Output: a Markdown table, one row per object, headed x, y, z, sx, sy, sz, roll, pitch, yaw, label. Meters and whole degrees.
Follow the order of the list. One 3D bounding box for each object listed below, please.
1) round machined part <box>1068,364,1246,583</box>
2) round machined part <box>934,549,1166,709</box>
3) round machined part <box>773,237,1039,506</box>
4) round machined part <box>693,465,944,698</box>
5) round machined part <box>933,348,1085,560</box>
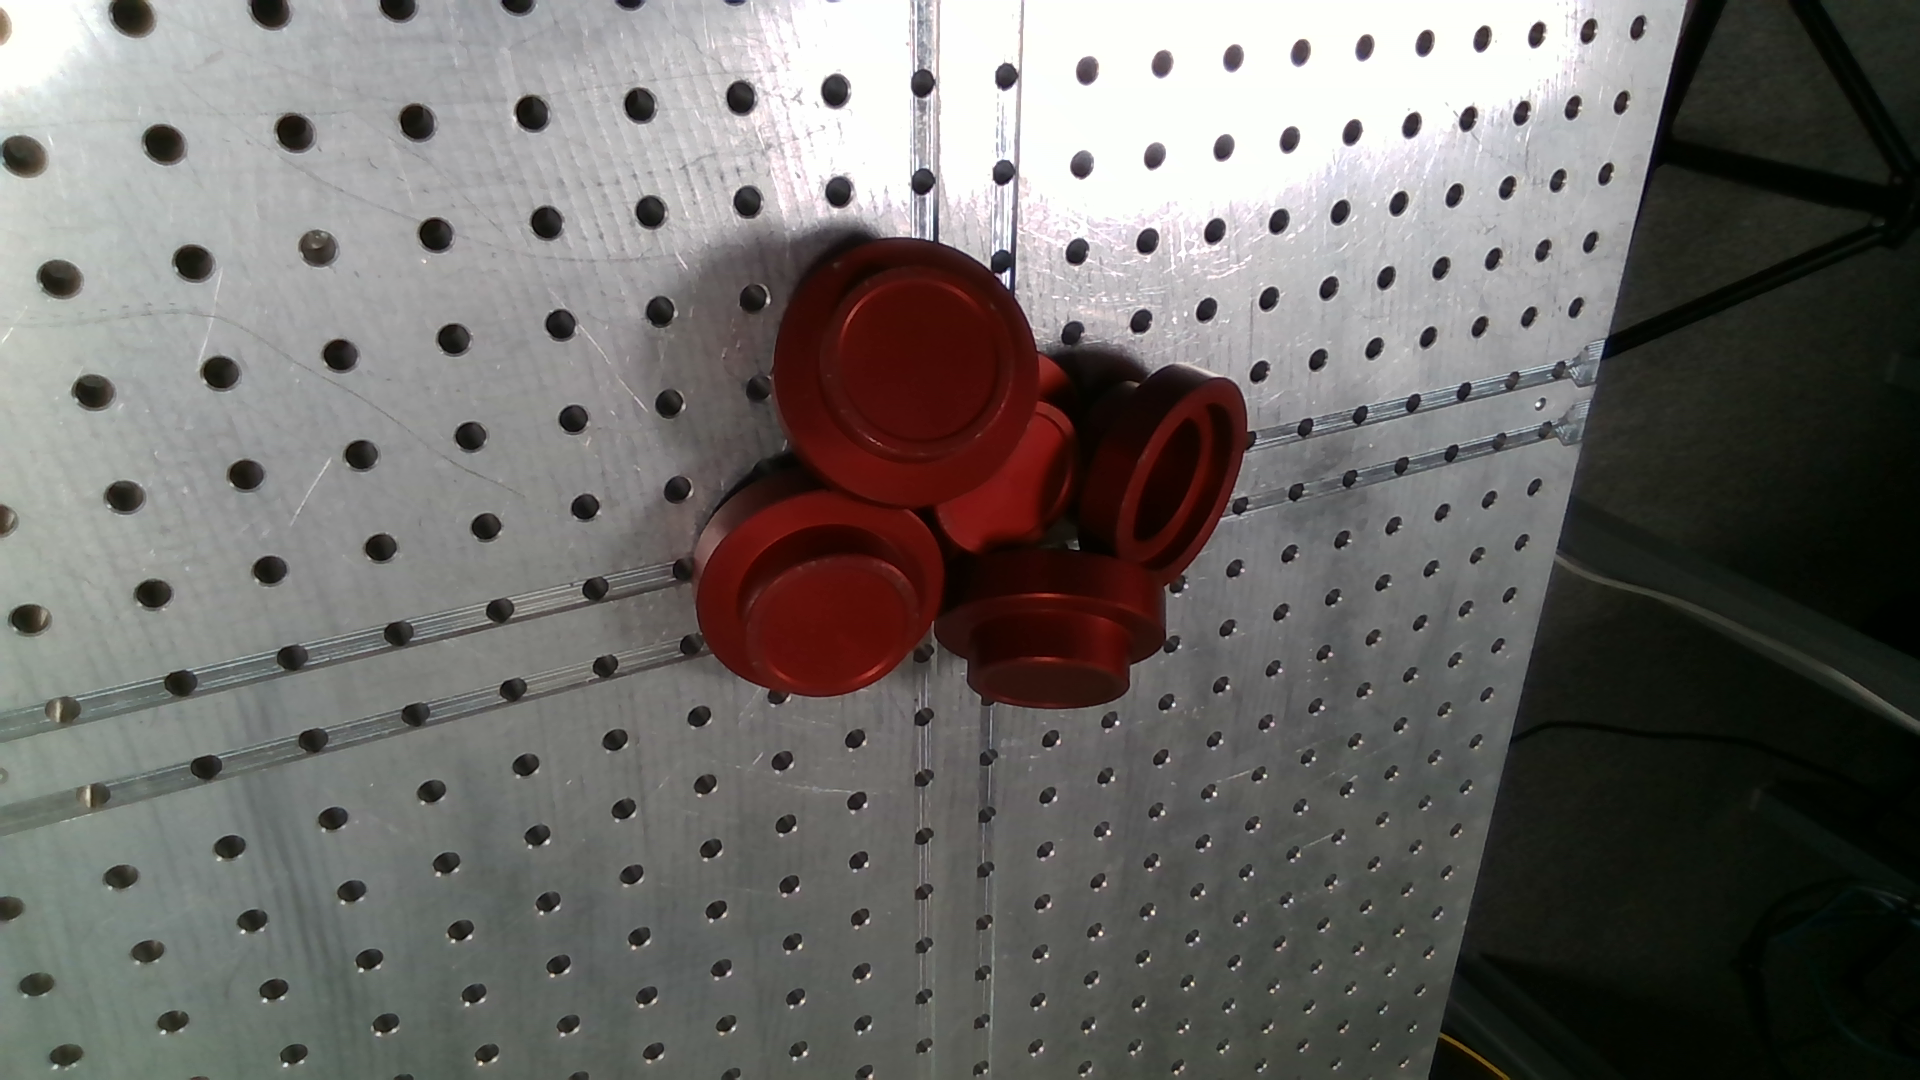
| x | y | z | sx | sy | sz | roll | pitch | yaw | label |
| --- | --- | --- | --- | --- | --- | --- | --- | --- | --- |
| 0.079 | -0.030 | 0.591 | 0.098 | 0.042 | 0.098 | -34 | 138 | -38 | round machined part |
| 0.037 | 0.042 | 0.581 | 0.098 | 0.098 | 0.042 | 23 | 60 | -38 | round machined part |
| -0.018 | -0.061 | 0.498 | 0.098 | 0.042 | 0.098 | 0 | 88 | -12 | round machined part |
| -0.053 | 0.022 | 0.536 | 0.098 | 0.042 | 0.098 | -10 | 126 | -14 | round machined part |
| 0.010 | -0.034 | 0.559 | 0.098 | 0.042 | 0.098 | -14 | 122 | -25 | round machined part |
